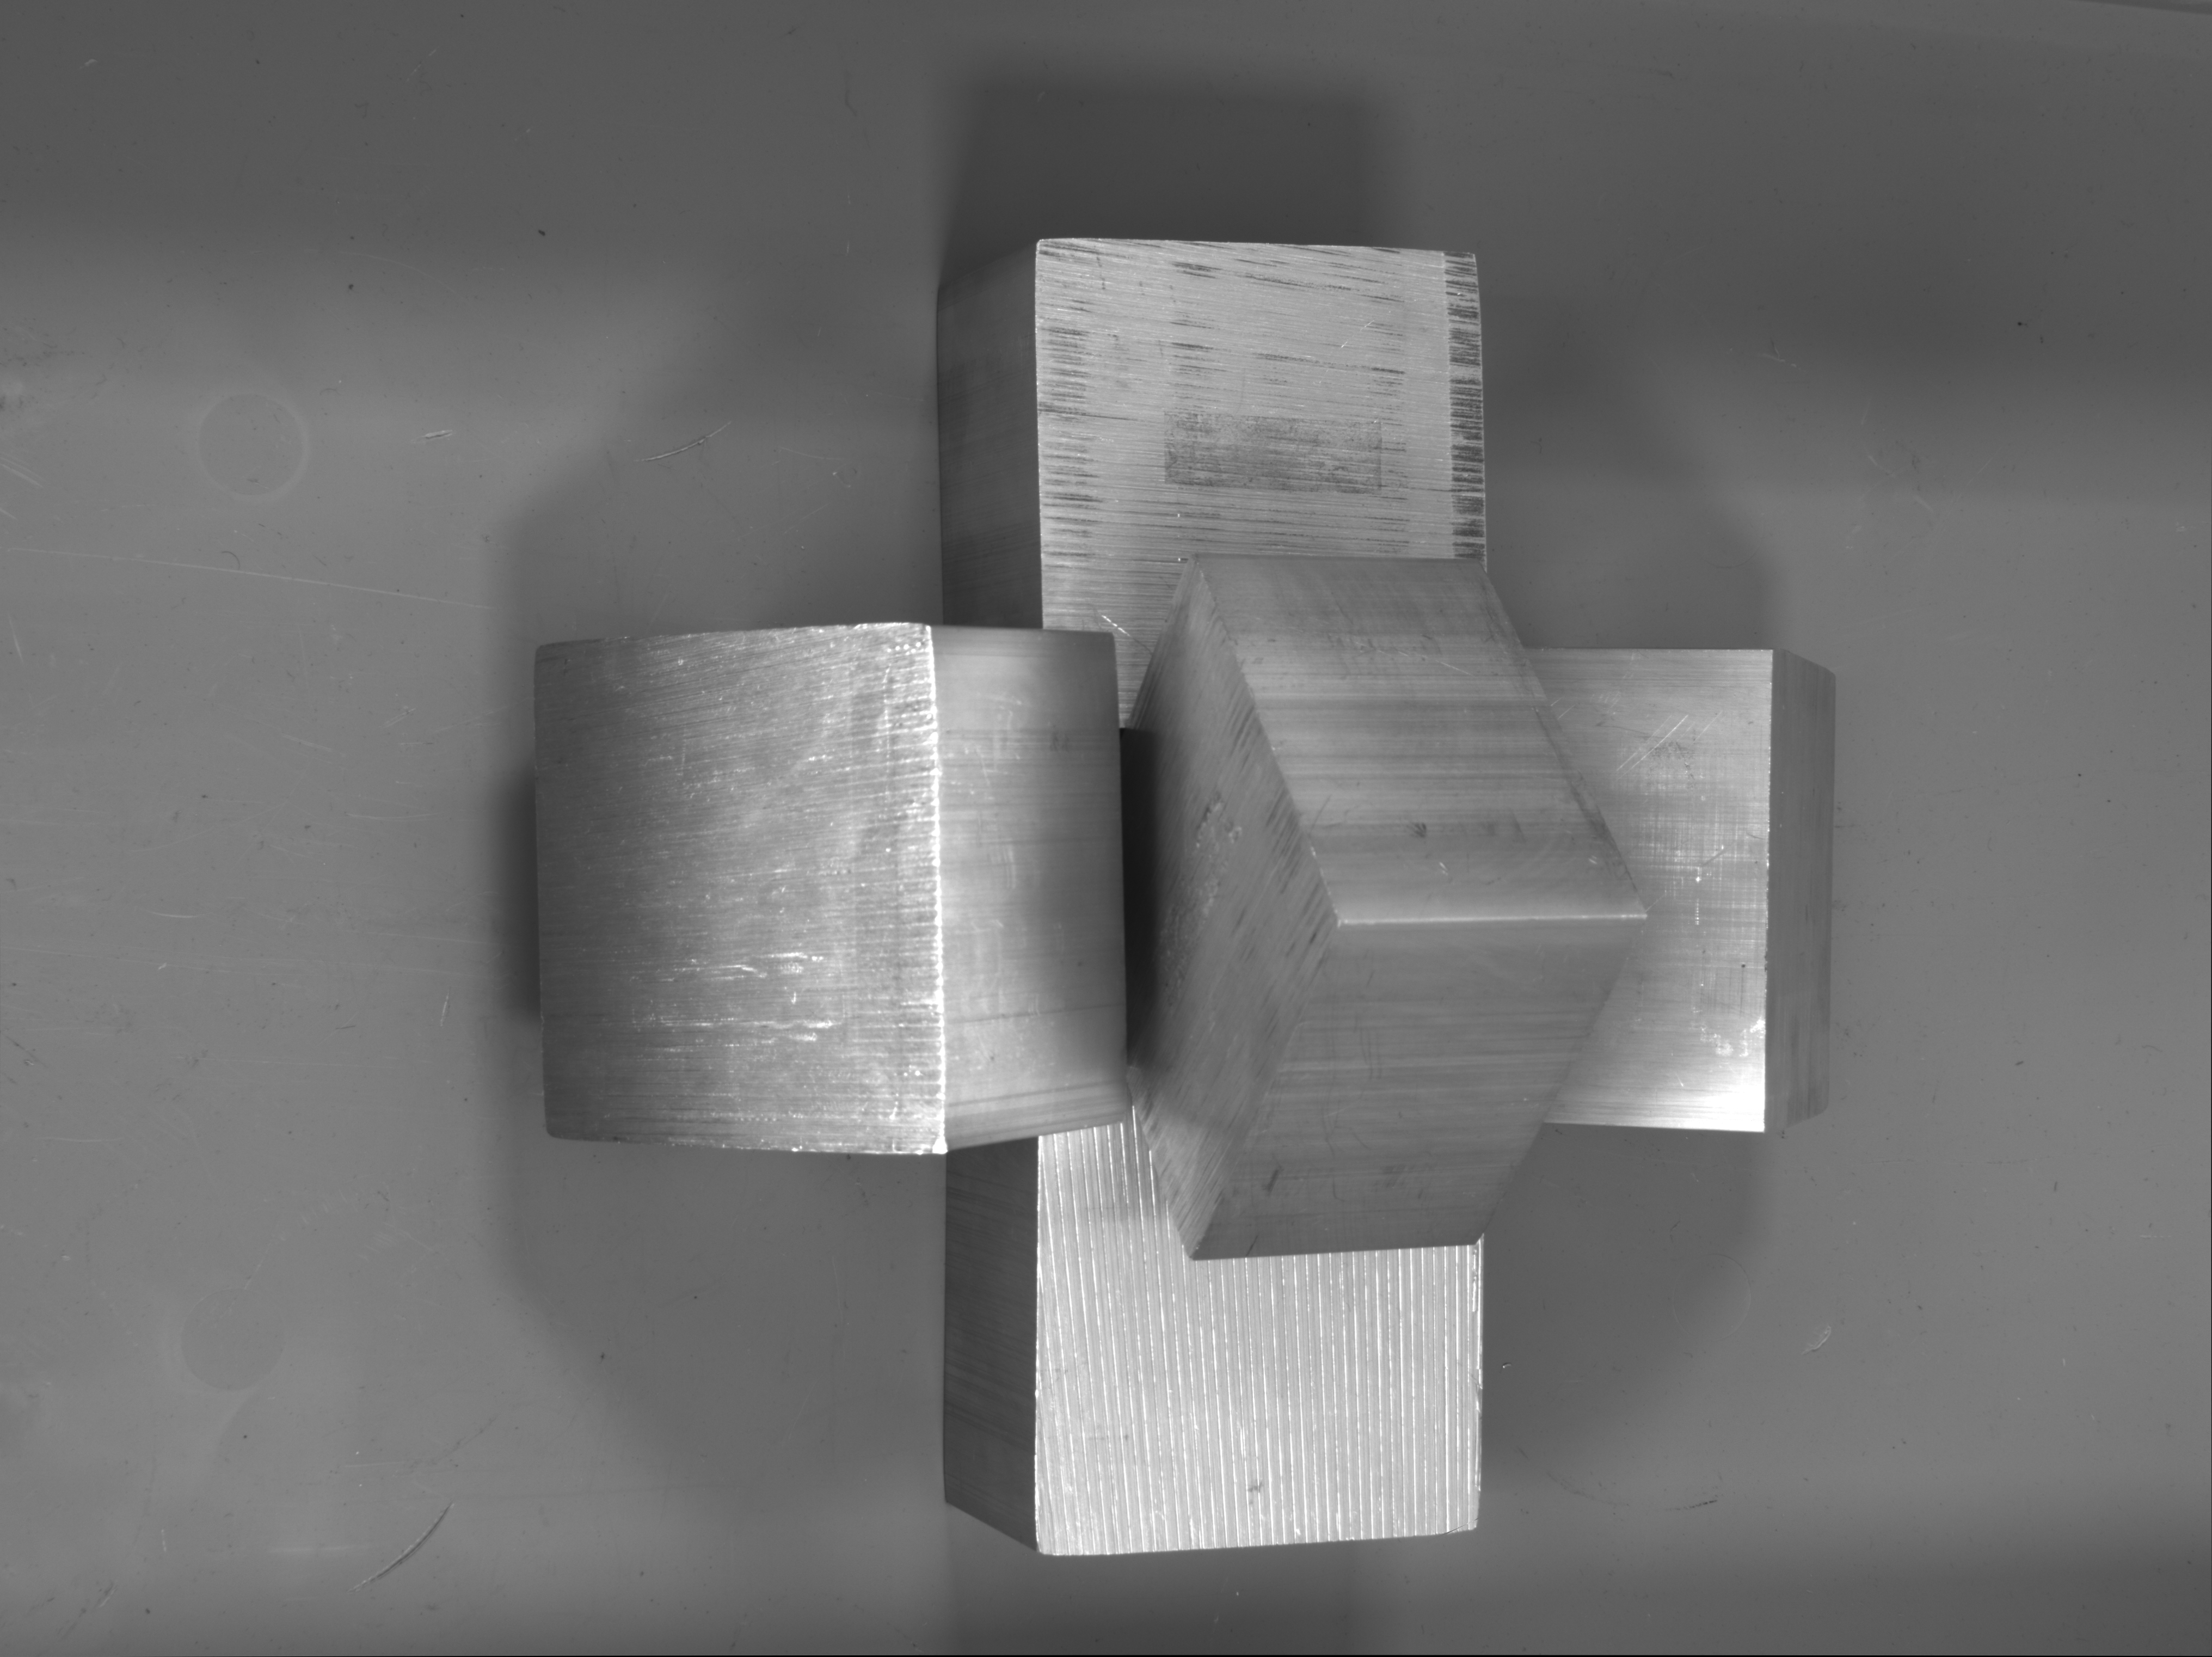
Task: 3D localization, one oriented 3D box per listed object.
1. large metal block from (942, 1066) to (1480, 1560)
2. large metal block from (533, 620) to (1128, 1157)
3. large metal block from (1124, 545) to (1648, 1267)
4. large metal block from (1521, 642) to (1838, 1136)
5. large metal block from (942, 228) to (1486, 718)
[{"bbox_3d":[0.018,0.080,0.635,0.080,0.050,0.080,1,90,-20],"label":"large metal block"},{"bbox_3d":[-0.044,0.009,0.589,0.050,0.080,0.080,-2,91,-56],"label":"large metal block"},{"bbox_3d":[0.036,0.012,0.584,0.050,0.080,0.080,-1,46,-21],"label":"large metal block"},{"bbox_3d":[0.096,0.010,0.640,0.050,0.080,0.080,1,90,19],"label":"large metal block"},{"bbox_3d":[0.018,-0.058,0.633,0.080,0.050,0.080,-2,90,-20],"label":"large metal block"}]
